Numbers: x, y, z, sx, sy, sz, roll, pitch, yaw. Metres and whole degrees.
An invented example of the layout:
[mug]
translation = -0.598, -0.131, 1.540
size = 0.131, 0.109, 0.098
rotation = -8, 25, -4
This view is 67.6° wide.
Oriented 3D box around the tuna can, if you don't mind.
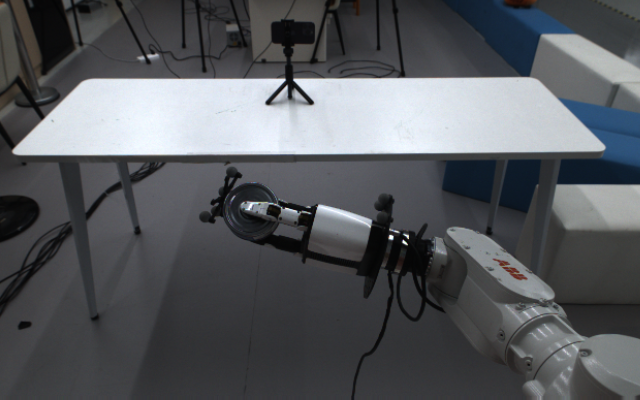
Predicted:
[tuna can]
translation = -0.101, 0.016, 0.729
size = 0.085, 0.034, 0.085
rotation = 0, 75, -2
